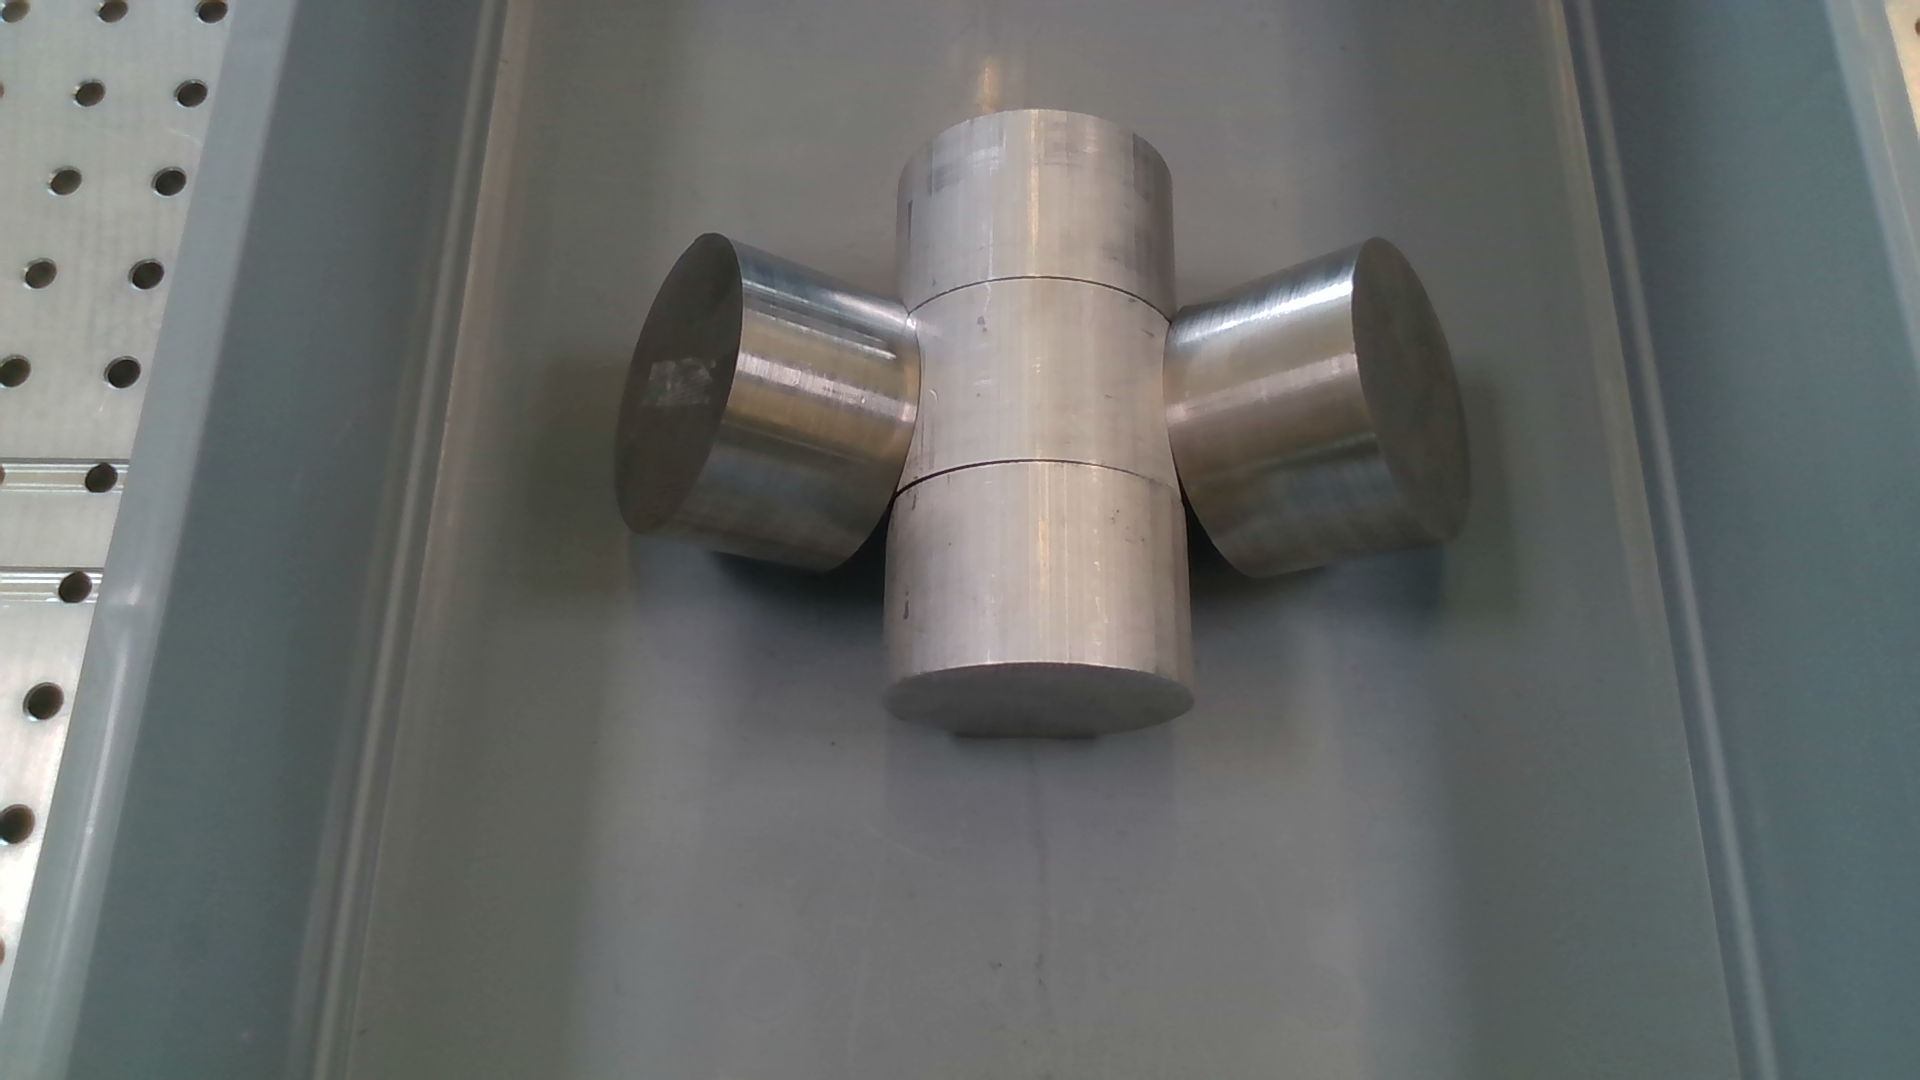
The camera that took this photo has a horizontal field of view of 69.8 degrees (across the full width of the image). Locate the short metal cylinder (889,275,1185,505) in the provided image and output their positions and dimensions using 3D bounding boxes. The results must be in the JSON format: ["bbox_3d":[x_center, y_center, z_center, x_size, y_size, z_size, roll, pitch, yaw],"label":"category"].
[{"bbox_3d":[0.020,-0.029,0.375,0.080,0.080,0.050,1,70,0],"label":"short metal cylinder"}]

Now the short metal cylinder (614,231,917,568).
[{"bbox_3d":[-0.054,-0.036,0.370,0.050,0.080,0.080,13,67,-32],"label":"short metal cylinder"}]

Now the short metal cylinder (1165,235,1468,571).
[{"bbox_3d":[0.097,-0.035,0.370,0.050,0.080,0.080,-13,65,36],"label":"short metal cylinder"}]

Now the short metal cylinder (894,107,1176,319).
[{"bbox_3d":[0.021,-0.077,0.393,0.080,0.080,0.050,1,70,0],"label":"short metal cylinder"}]

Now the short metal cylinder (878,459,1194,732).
[{"bbox_3d":[0.020,0.018,0.359,0.080,0.080,0.050,1,70,0],"label":"short metal cylinder"}]
